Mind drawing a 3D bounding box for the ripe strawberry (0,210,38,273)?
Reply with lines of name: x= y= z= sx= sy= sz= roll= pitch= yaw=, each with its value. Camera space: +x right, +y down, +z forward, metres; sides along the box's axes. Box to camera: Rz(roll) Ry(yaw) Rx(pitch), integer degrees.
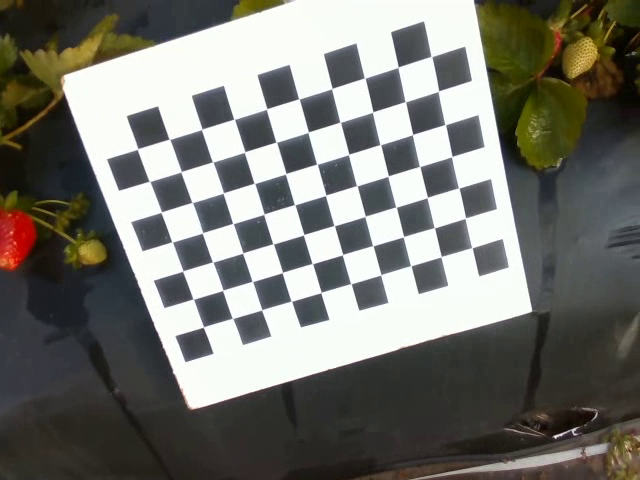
ripe strawberry: x=-0.239 y=0.002 z=0.459 sx=0.052 sy=0.043 sz=0.057 roll=37 pitch=18 yaw=-41
